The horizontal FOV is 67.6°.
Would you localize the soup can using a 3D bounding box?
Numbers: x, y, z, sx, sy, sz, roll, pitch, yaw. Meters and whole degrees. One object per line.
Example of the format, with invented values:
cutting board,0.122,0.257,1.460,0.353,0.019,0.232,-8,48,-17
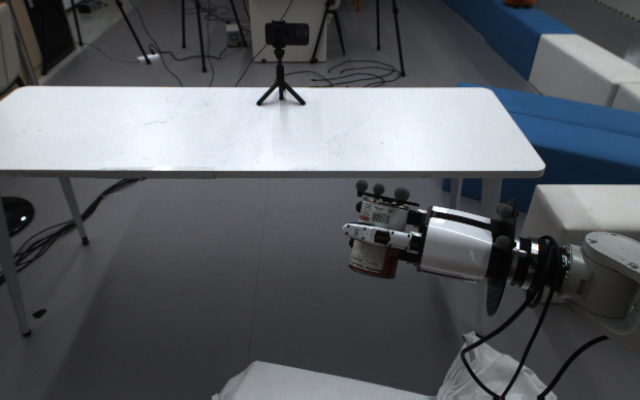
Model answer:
soup can,0.084,0.052,0.679,0.067,0.101,0.067,12,2,0
